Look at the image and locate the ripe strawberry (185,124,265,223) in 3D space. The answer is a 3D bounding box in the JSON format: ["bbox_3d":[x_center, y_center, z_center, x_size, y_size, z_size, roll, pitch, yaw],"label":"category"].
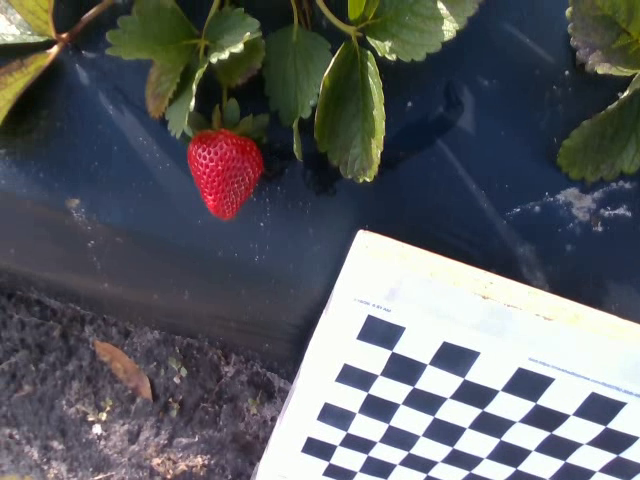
[{"bbox_3d":[-0.043,-0.027,0.277,0.041,0.047,0.041,2,-16,25],"label":"ripe strawberry"}]
